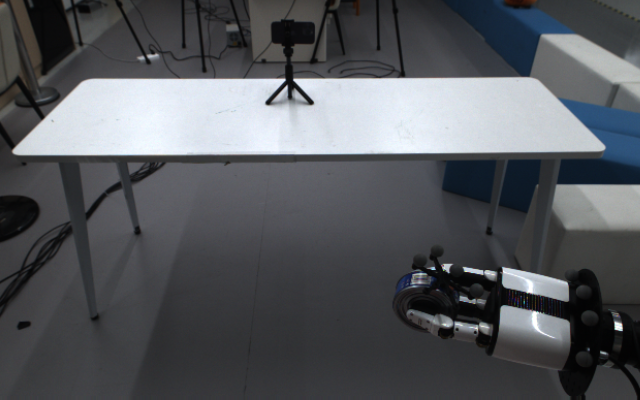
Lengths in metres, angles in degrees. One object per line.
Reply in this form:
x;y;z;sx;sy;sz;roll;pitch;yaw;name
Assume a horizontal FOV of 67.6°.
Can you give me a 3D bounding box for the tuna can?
0.144;0.134;0.645;0.085;0.085;0.034;12;35;14;tuna can
